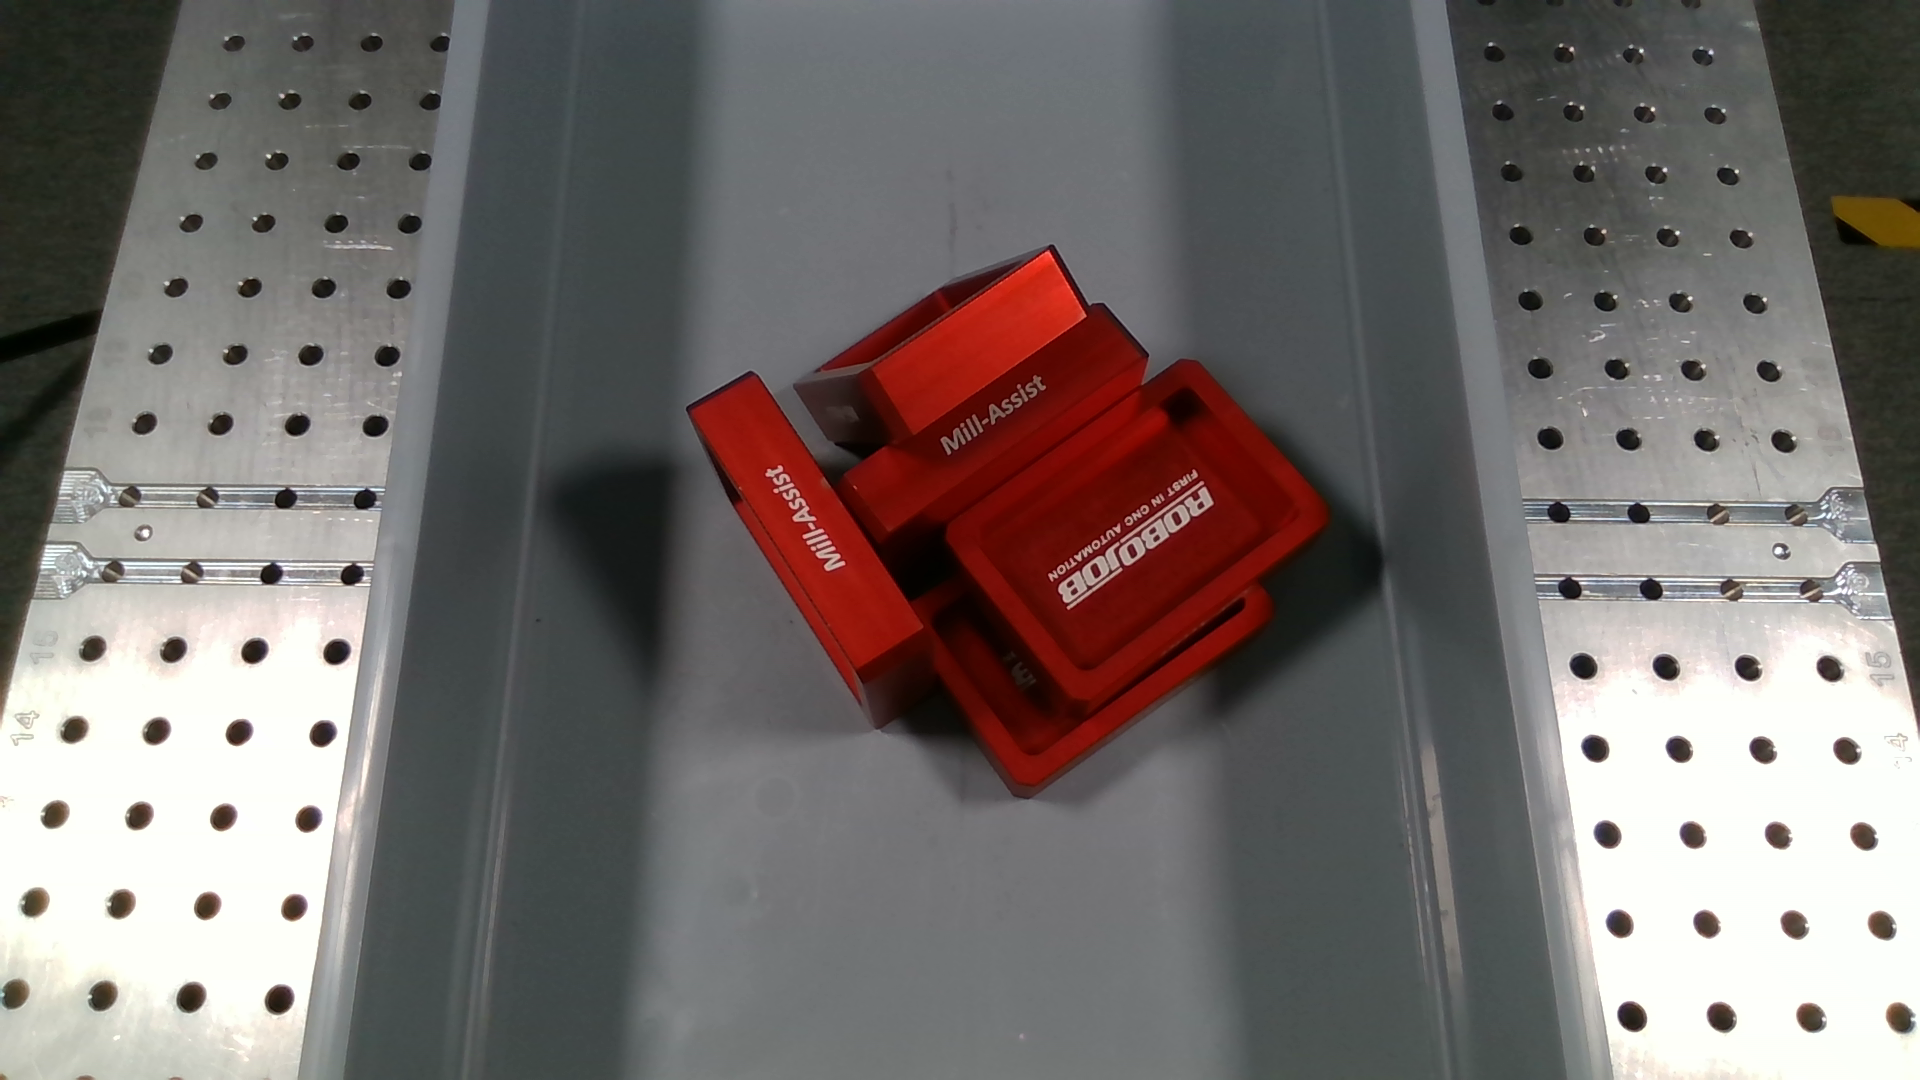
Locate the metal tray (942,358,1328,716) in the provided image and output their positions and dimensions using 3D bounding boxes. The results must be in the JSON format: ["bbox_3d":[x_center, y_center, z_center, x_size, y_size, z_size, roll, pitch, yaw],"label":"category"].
[{"bbox_3d":[0.069,-0.003,0.553,0.130,0.030,0.090,-35,74,-12],"label":"metal tray"}]

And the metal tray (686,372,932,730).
[{"bbox_3d":[-0.058,0.007,0.550,0.030,0.090,0.130,-31,73,-11],"label":"metal tray"}]

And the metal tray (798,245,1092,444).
[{"bbox_3d":[-0.012,-0.077,0.560,0.090,0.130,0.030,-35,104,-12],"label":"metal tray"}]

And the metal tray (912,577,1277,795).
[{"bbox_3d":[0.053,0.035,0.573,0.130,0.030,0.090,-32,72,-12],"label":"metal tray"}]

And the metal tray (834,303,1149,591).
[{"bbox_3d":[0.013,-0.033,0.563,0.130,0.090,0.030,-35,74,-12],"label":"metal tray"}]
